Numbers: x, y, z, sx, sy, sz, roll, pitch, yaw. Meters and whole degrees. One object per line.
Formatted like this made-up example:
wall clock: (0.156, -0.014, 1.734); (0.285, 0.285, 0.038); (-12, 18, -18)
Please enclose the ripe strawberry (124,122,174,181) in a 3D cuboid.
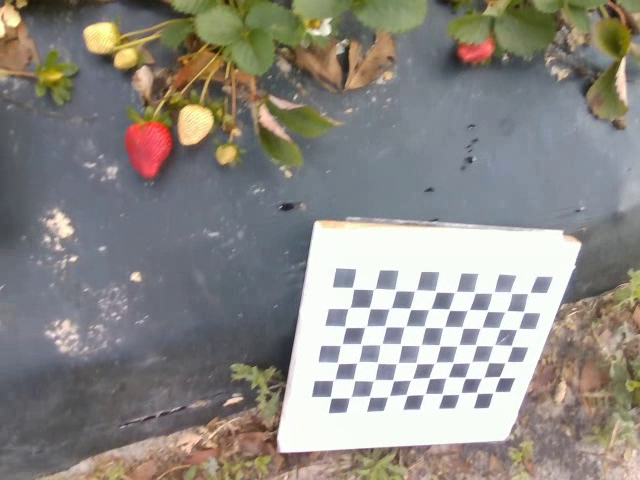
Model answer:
ripe strawberry: (-0.153, -0.081, 0.519); (0.050, 0.059, 0.034); (-7, -22, -9)
